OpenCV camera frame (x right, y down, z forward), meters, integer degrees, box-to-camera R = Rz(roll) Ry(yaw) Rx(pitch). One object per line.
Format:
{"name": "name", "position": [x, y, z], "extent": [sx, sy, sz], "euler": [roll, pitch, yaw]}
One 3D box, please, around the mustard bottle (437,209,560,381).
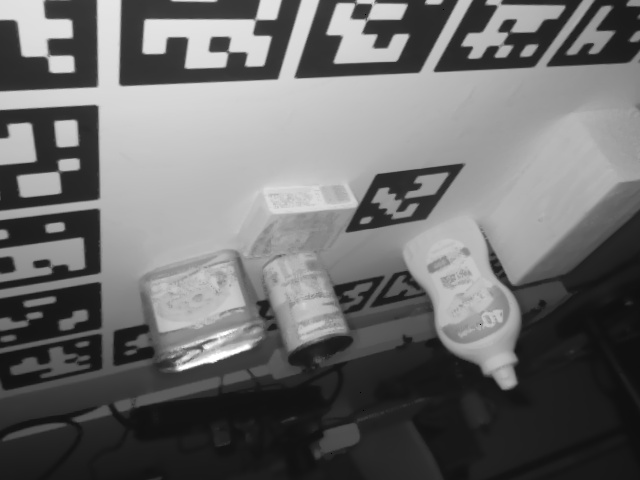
{"name": "mustard bottle", "position": [0.205, 0.063, 0.757], "extent": [0.096, 0.192, 0.058], "euler": [-20, 151, 0]}

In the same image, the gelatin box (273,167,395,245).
{"name": "gelatin box", "position": [0.012, -0.031, 0.622], "extent": [0.091, 0.030, 0.072], "euler": [-4, 143, -33]}

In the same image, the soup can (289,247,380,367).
{"name": "soup can", "position": [0.015, 0.066, 0.699], "extent": [0.068, 0.102, 0.067], "euler": [-17, 148, -10]}

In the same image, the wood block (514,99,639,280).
{"name": "wood block", "position": [0.306, -0.048, 0.740], "extent": [0.092, 0.090, 0.203], "euler": [-6, 150, -23]}

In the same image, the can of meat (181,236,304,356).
{"name": "can of meat", "position": [-0.075, 0.051, 0.651], "extent": [0.102, 0.084, 0.057], "euler": [-14, 148, -10]}
